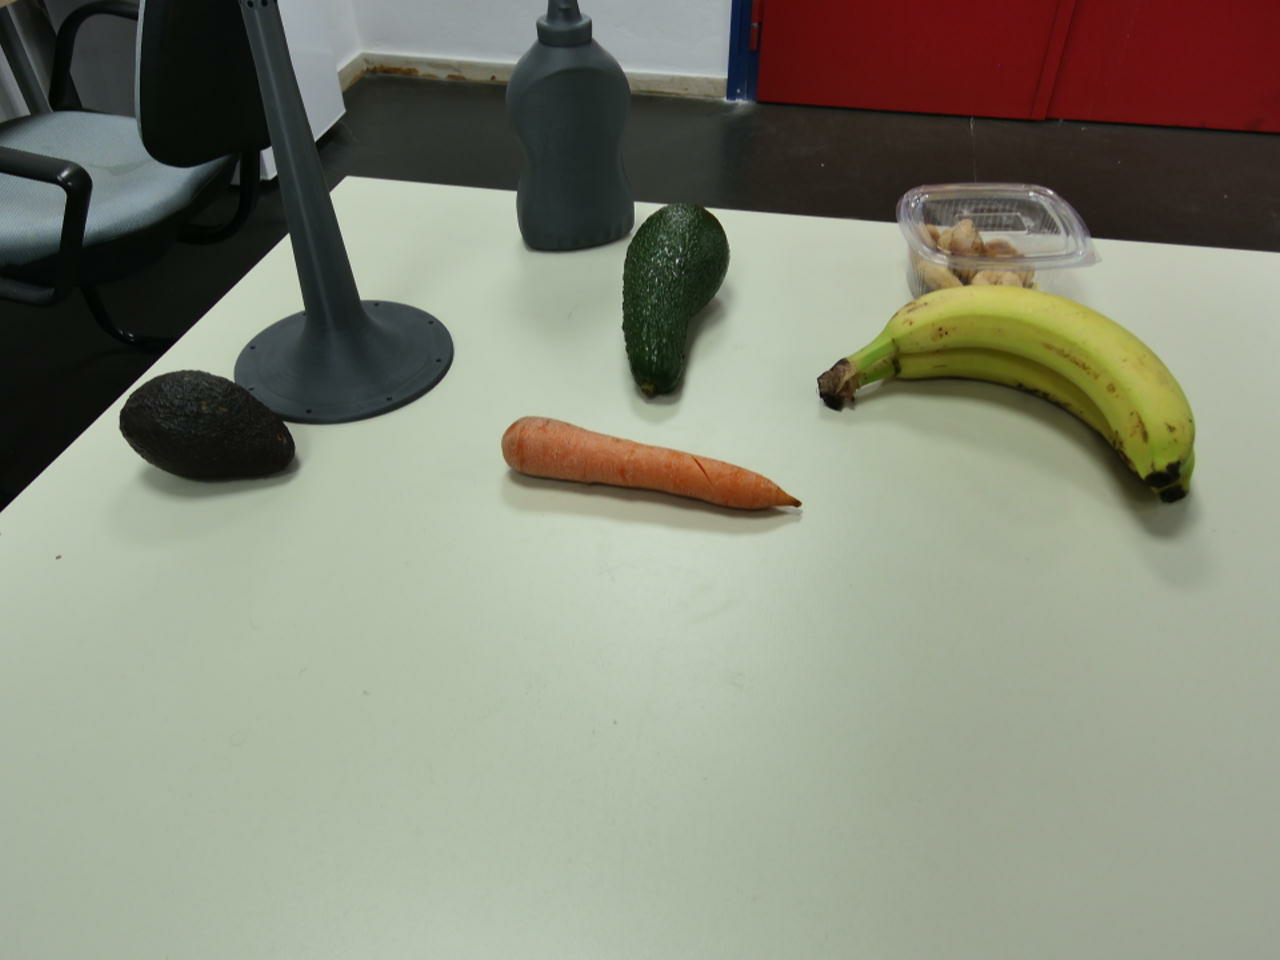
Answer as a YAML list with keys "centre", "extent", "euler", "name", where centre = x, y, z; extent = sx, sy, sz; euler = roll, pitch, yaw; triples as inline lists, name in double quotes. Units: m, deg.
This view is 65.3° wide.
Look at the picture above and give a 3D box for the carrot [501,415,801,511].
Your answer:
- centre: [0.006, -0.010, 0.632]
  extent: [0.196, 0.041, 0.039]
  euler: [8, 40, 10]
  name: "carrot"
